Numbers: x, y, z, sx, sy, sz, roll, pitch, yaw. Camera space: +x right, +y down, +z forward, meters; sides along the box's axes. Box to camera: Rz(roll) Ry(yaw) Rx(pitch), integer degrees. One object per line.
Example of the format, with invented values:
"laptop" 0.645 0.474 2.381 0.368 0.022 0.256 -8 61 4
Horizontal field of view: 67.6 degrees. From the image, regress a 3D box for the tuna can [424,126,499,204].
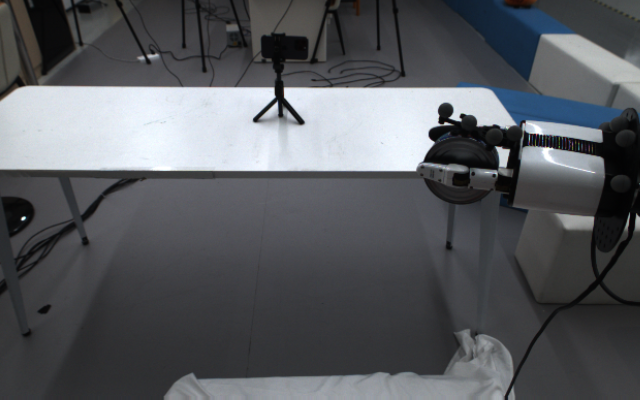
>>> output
"tuna can" 0.171 -0.041 0.580 0.085 0.085 0.034 16 28 19
